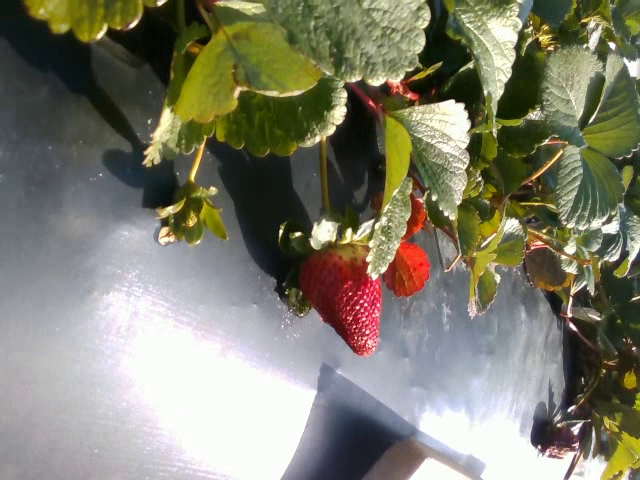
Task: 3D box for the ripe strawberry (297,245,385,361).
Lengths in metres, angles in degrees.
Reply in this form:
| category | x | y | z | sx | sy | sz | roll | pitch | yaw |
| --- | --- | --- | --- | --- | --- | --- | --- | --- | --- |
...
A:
| category | x | y | z | sx | sy | sz | roll | pitch | yaw |
| --- | --- | --- | --- | --- | --- | --- | --- | --- | --- |
| ripe strawberry | 0.012 | 0.027 | 0.249 | 0.040 | 0.056 | 0.040 | -16 | -7 | -25 |
